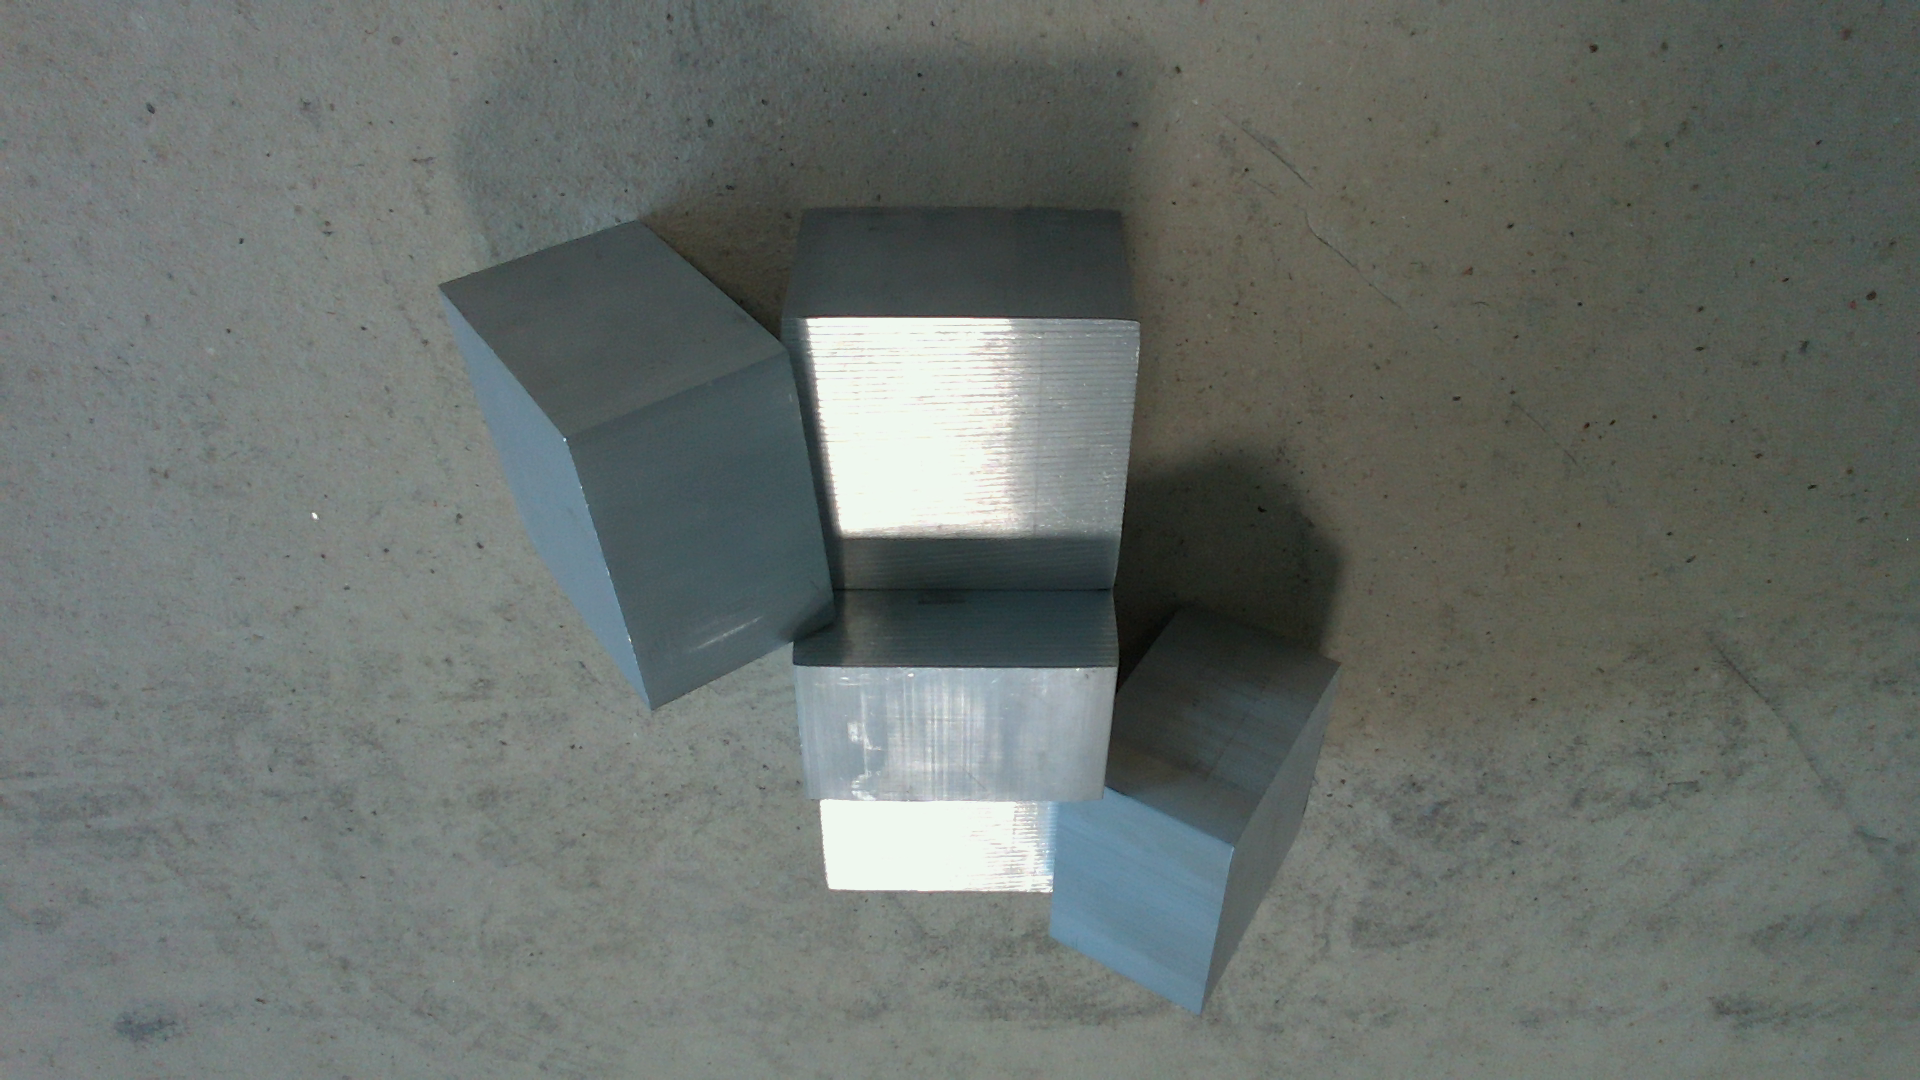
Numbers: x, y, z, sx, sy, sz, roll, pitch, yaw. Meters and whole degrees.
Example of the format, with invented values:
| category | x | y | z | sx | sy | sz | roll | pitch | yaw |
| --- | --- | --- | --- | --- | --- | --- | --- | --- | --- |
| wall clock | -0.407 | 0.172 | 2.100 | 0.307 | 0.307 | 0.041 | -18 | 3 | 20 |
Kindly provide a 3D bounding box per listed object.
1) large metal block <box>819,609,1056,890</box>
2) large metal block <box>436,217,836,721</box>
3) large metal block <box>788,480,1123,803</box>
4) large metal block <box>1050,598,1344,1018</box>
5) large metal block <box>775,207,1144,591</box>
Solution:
| category | x | y | z | sx | sy | sz | roll | pitch | yaw |
| --- | --- | --- | --- | --- | --- | --- | --- | --- | --- |
| large metal block | -0.002 | 0.064 | 0.429 | 0.080 | 0.050 | 0.080 | 1 | 131 | 0 |
| large metal block | -0.076 | -0.019 | 0.329 | 0.050 | 0.080 | 0.080 | -26 | 134 | -23 |
| large metal block | -0.001 | 0.024 | 0.375 | 0.080 | 0.080 | 0.050 | 0 | 130 | 0 |
| large metal block | 0.070 | 0.079 | 0.412 | 0.050 | 0.080 | 0.080 | 22 | 135 | 24 |
| large metal block | 0.000 | -0.034 | 0.343 | 0.080 | 0.050 | 0.080 | 0 | 130 | 0 |
